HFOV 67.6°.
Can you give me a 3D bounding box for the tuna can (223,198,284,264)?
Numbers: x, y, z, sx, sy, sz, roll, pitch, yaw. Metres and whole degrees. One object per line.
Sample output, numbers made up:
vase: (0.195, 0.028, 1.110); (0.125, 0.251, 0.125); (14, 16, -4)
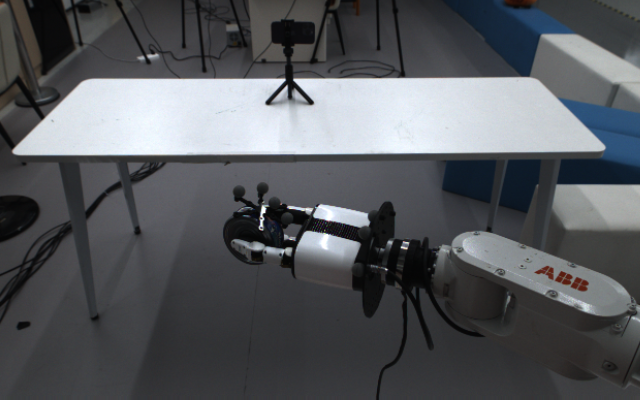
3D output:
tuna can: (-0.095, 0.059, 0.707); (0.085, 0.085, 0.034); (15, 30, 18)
